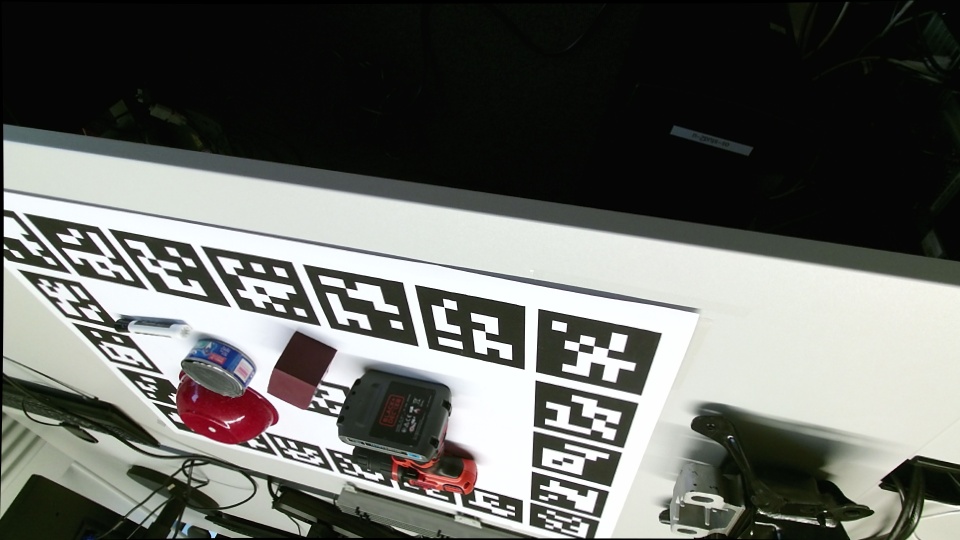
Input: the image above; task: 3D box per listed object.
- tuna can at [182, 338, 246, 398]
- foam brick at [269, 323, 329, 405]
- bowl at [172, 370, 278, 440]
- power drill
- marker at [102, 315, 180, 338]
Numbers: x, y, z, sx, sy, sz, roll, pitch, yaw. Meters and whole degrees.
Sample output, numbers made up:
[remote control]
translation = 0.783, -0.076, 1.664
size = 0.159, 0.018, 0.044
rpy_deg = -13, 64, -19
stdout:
[tuna can]
translation = -0.348, 0.126, 0.690
size = 0.086, 0.033, 0.086
rpy_deg = 14, 138, 13
[foam brick]
translation = -0.213, 0.108, 0.612
size = 0.051, 0.052, 0.078
rpy_deg = 27, 137, -4
[bowl]
translation = -0.389, 0.208, 0.795
size = 0.162, 0.055, 0.162
rpy_deg = 10, 144, 8
[power drill]
translation = -0.097, 0.209, 0.662
size = 0.185, 0.057, 0.187
rpy_deg = 11, 140, 17
[marker]
translation = -0.431, 0.071, 0.677
size = 0.121, 0.019, 0.020
rpy_deg = 3, 134, 21
